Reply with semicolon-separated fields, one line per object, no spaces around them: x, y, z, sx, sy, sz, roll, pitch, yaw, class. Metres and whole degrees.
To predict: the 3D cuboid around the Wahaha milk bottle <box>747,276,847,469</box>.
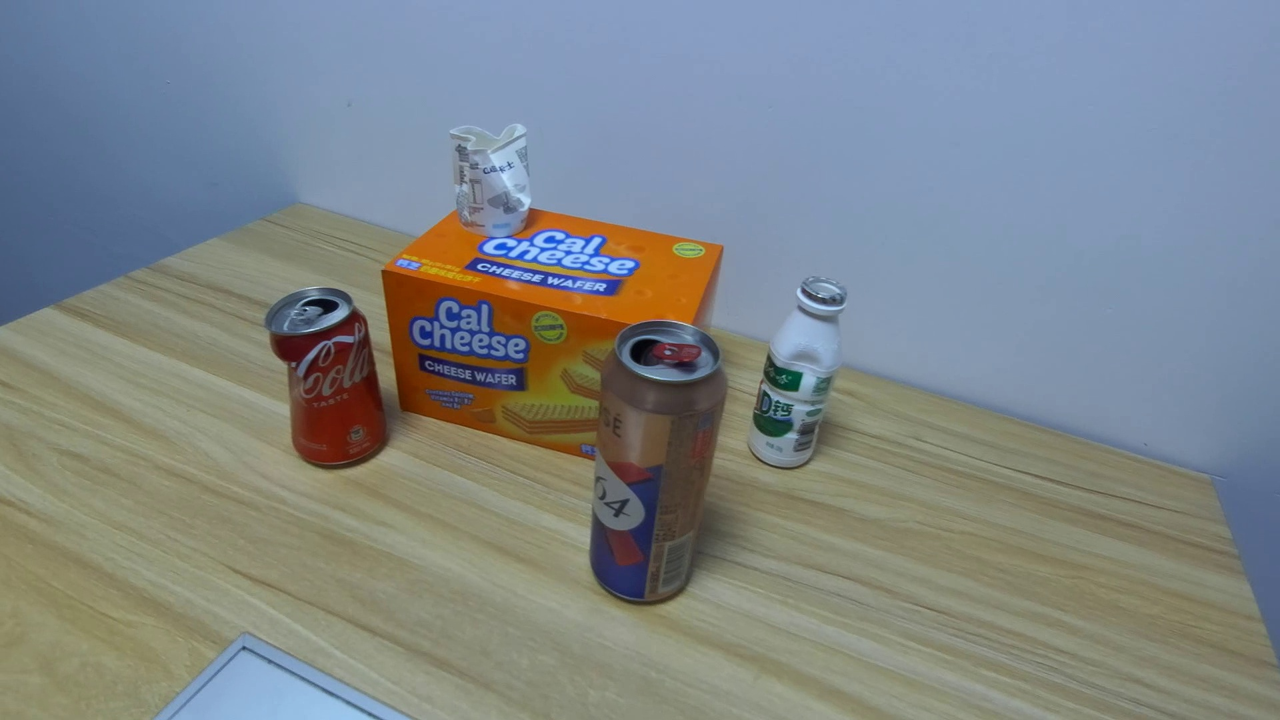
0.116;0.016;0.518;0.053;0.137;0.053;4;35;-3;Wahaha milk bottle

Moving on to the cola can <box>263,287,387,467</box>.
-0.214;0.013;0.490;0.066;0.117;0.072;-9;36;-23;cola can

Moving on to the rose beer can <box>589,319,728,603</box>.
0.008;0.064;0.407;0.069;0.169;0.068;4;35;-2;rose beer can

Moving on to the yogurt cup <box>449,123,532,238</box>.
-0.113;-0.139;0.541;0.055;0.072;0.055;-12;41;-24;yogurt cup

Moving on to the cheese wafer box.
-0.061;-0.025;0.561;0.221;0.129;0.148;13;36;9;cheese wafer box
